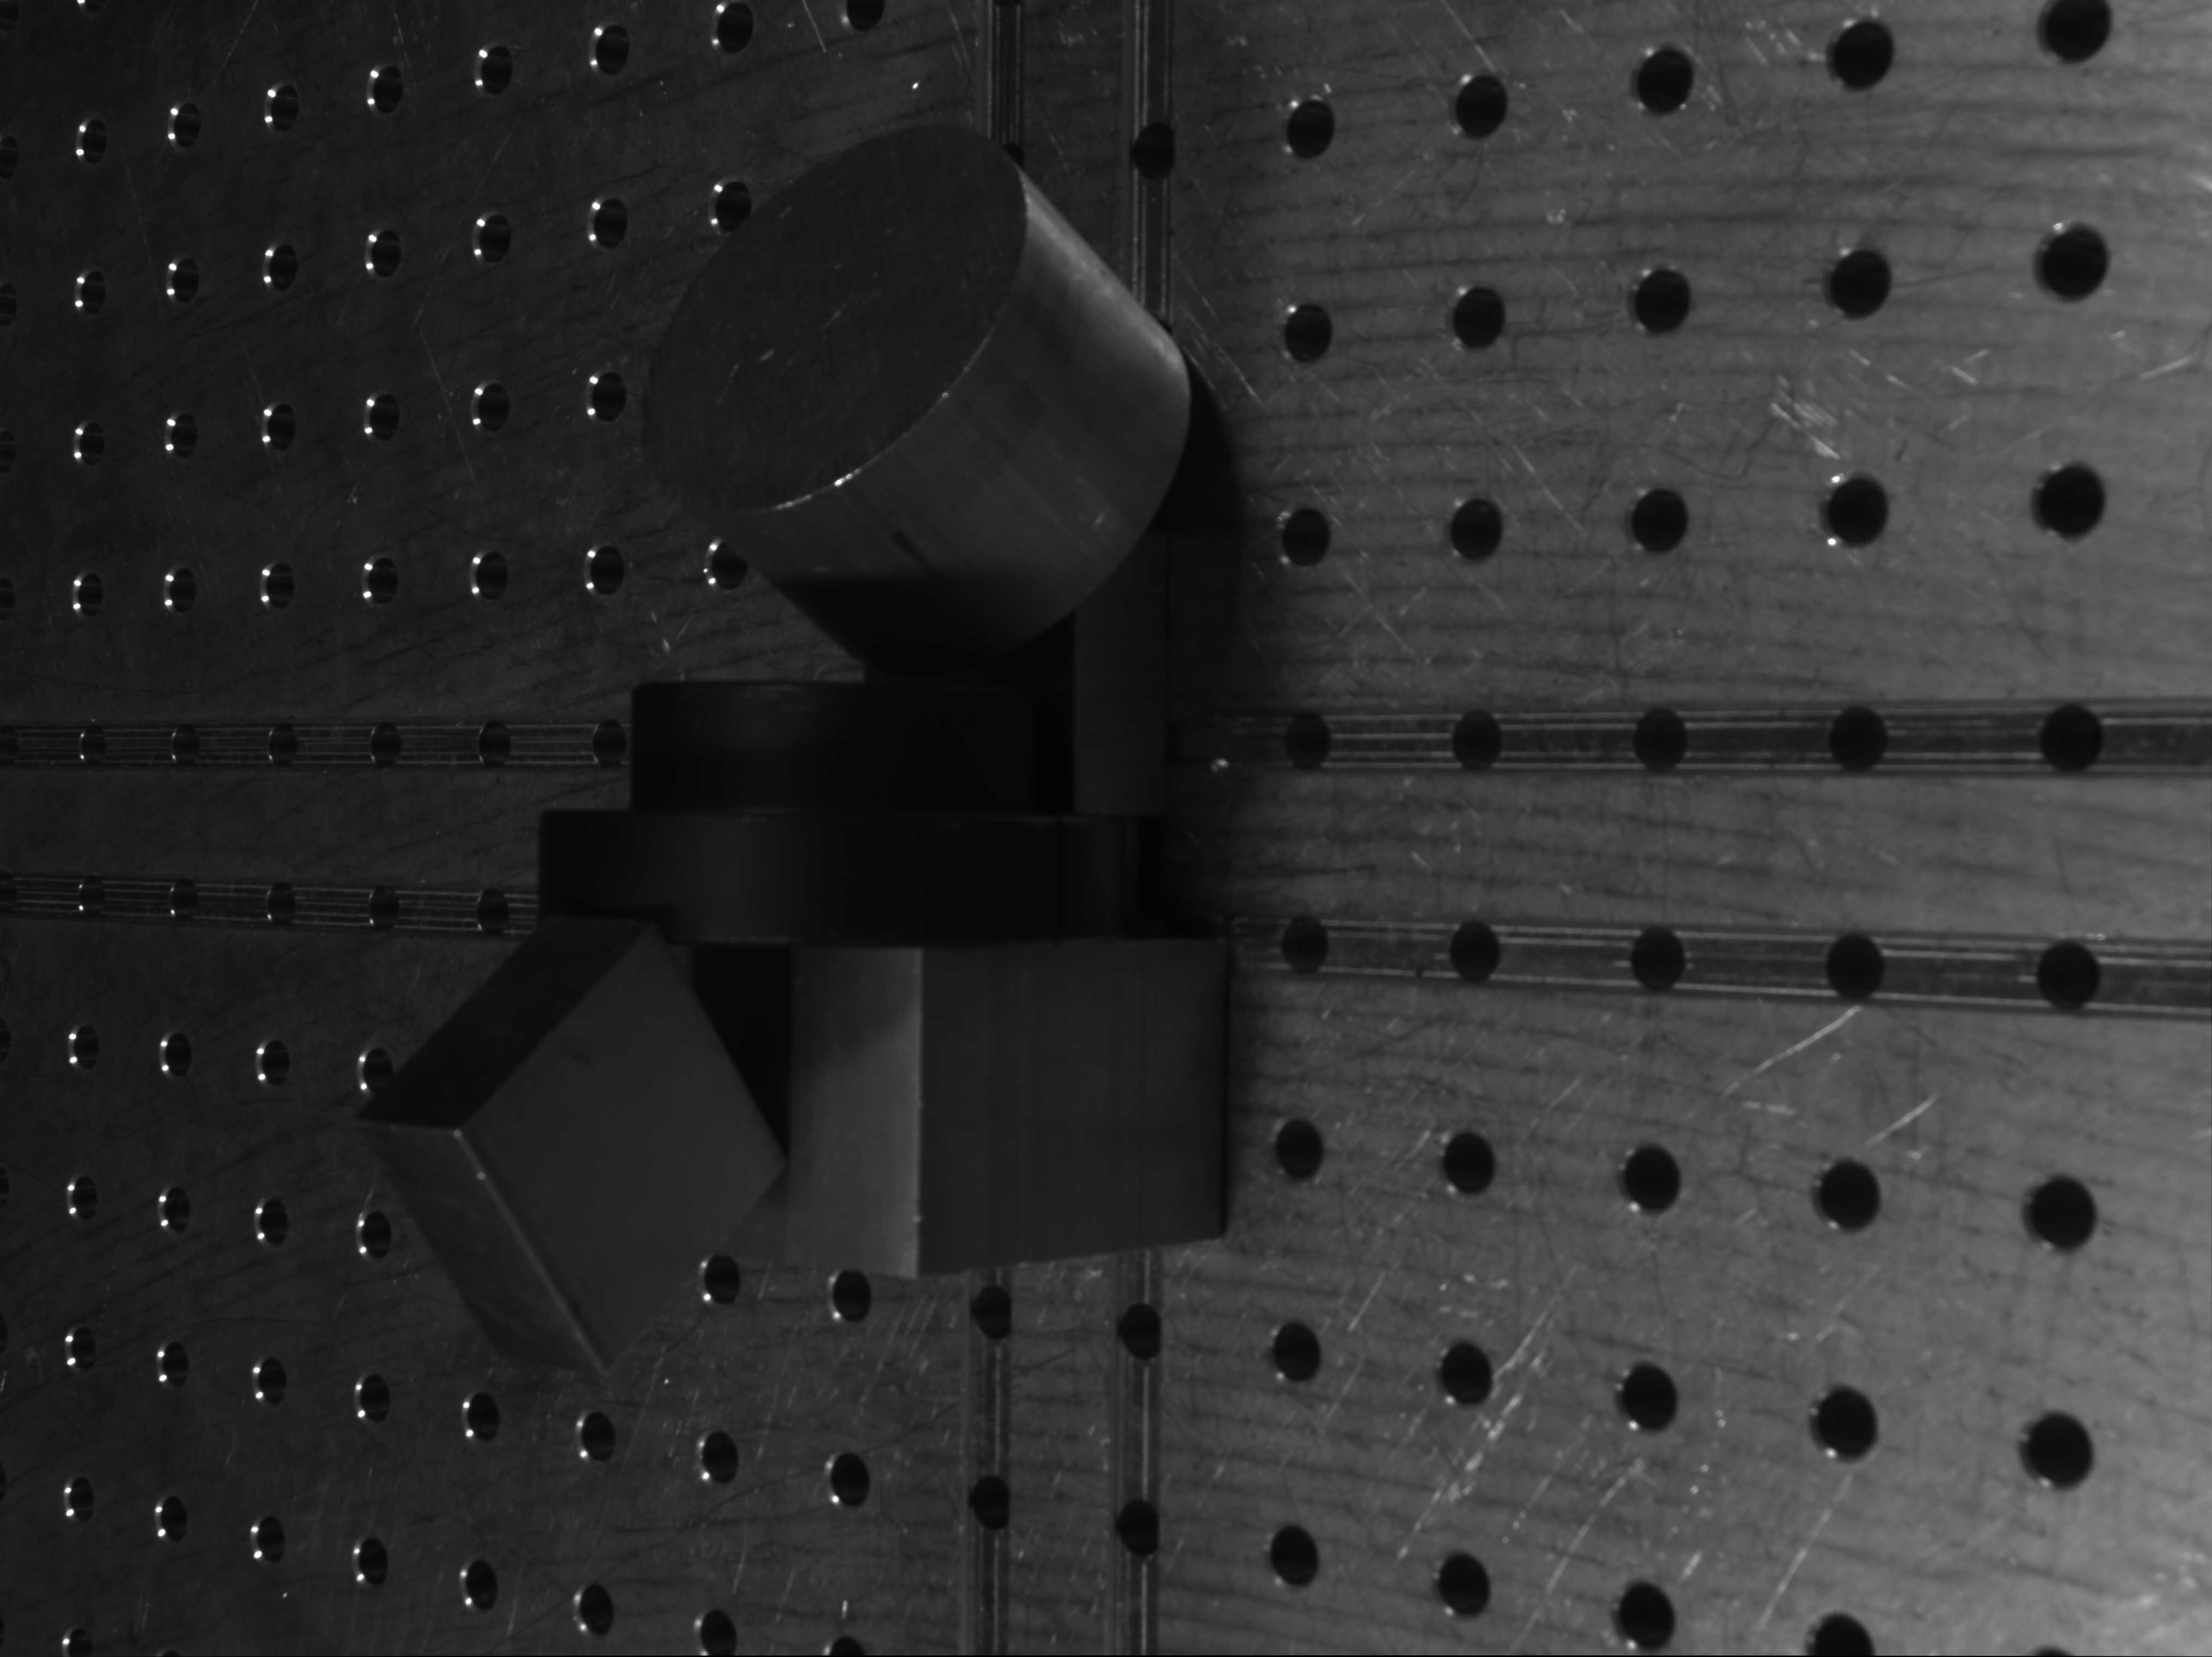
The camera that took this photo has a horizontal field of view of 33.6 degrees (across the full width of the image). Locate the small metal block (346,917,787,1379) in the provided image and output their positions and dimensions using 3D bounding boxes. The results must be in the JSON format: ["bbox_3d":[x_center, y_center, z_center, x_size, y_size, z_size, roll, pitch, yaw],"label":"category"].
[{"bbox_3d":[-0.083,0.049,0.574,0.025,0.050,0.050,1,129,39],"label":"small metal block"}]

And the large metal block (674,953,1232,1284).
[{"bbox_3d":[-0.035,0.046,0.631,0.080,0.080,0.050,1,90,39],"label":"large metal block"}]

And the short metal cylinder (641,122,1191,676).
[{"bbox_3d":[-0.033,-0.073,0.628,0.080,0.050,0.080,-21,48,26],"label":"short metal cylinder"}]

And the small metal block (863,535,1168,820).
[{"bbox_3d":[-0.017,-0.027,0.652,0.050,0.025,0.050,1,90,39],"label":"small metal block"}]

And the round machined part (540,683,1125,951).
[{"bbox_3d":[-0.046,-0.002,0.616,0.098,0.098,0.042,1,90,39],"label":"round machined part"}]
